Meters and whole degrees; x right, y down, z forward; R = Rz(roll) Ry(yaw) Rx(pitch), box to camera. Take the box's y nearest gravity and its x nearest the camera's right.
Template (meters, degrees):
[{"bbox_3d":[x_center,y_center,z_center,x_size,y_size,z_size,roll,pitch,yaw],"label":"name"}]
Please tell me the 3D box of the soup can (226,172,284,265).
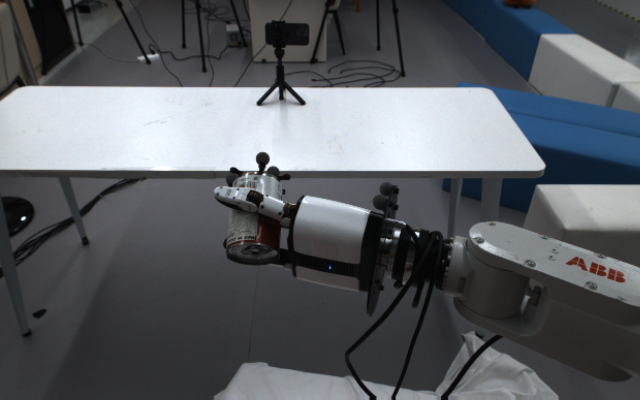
[{"bbox_3d":[-0.080,0.023,0.616,0.067,0.067,0.101,0,61,-3],"label":"soup can"}]
